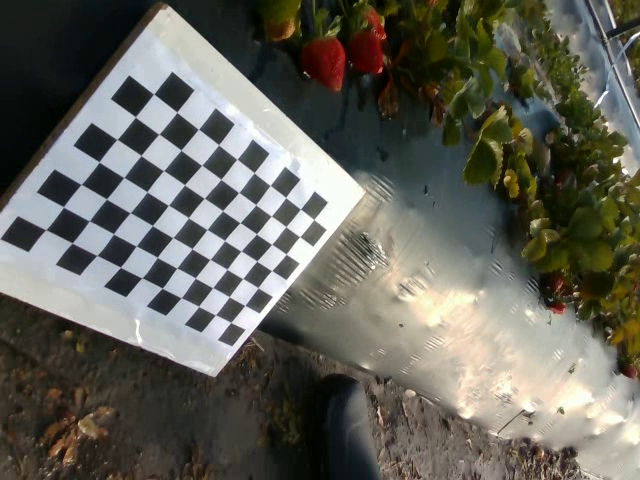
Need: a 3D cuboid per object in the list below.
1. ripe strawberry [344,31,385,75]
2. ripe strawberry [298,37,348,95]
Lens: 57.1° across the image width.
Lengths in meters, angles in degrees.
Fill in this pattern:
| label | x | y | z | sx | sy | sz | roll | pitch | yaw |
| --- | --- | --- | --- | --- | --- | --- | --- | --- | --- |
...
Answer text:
| label | x | y | z | sx | sy | sz | roll | pitch | yaw |
| --- | --- | --- | --- | --- | --- | --- | --- | --- | --- |
| ripe strawberry | 0.054 | -0.209 | 0.655 | 0.044 | 0.055 | 0.042 | -30 | -13 | -15 |
| ripe strawberry | 0.008 | -0.179 | 0.588 | 0.050 | 0.065 | 0.050 | -9 | -25 | -28 |
